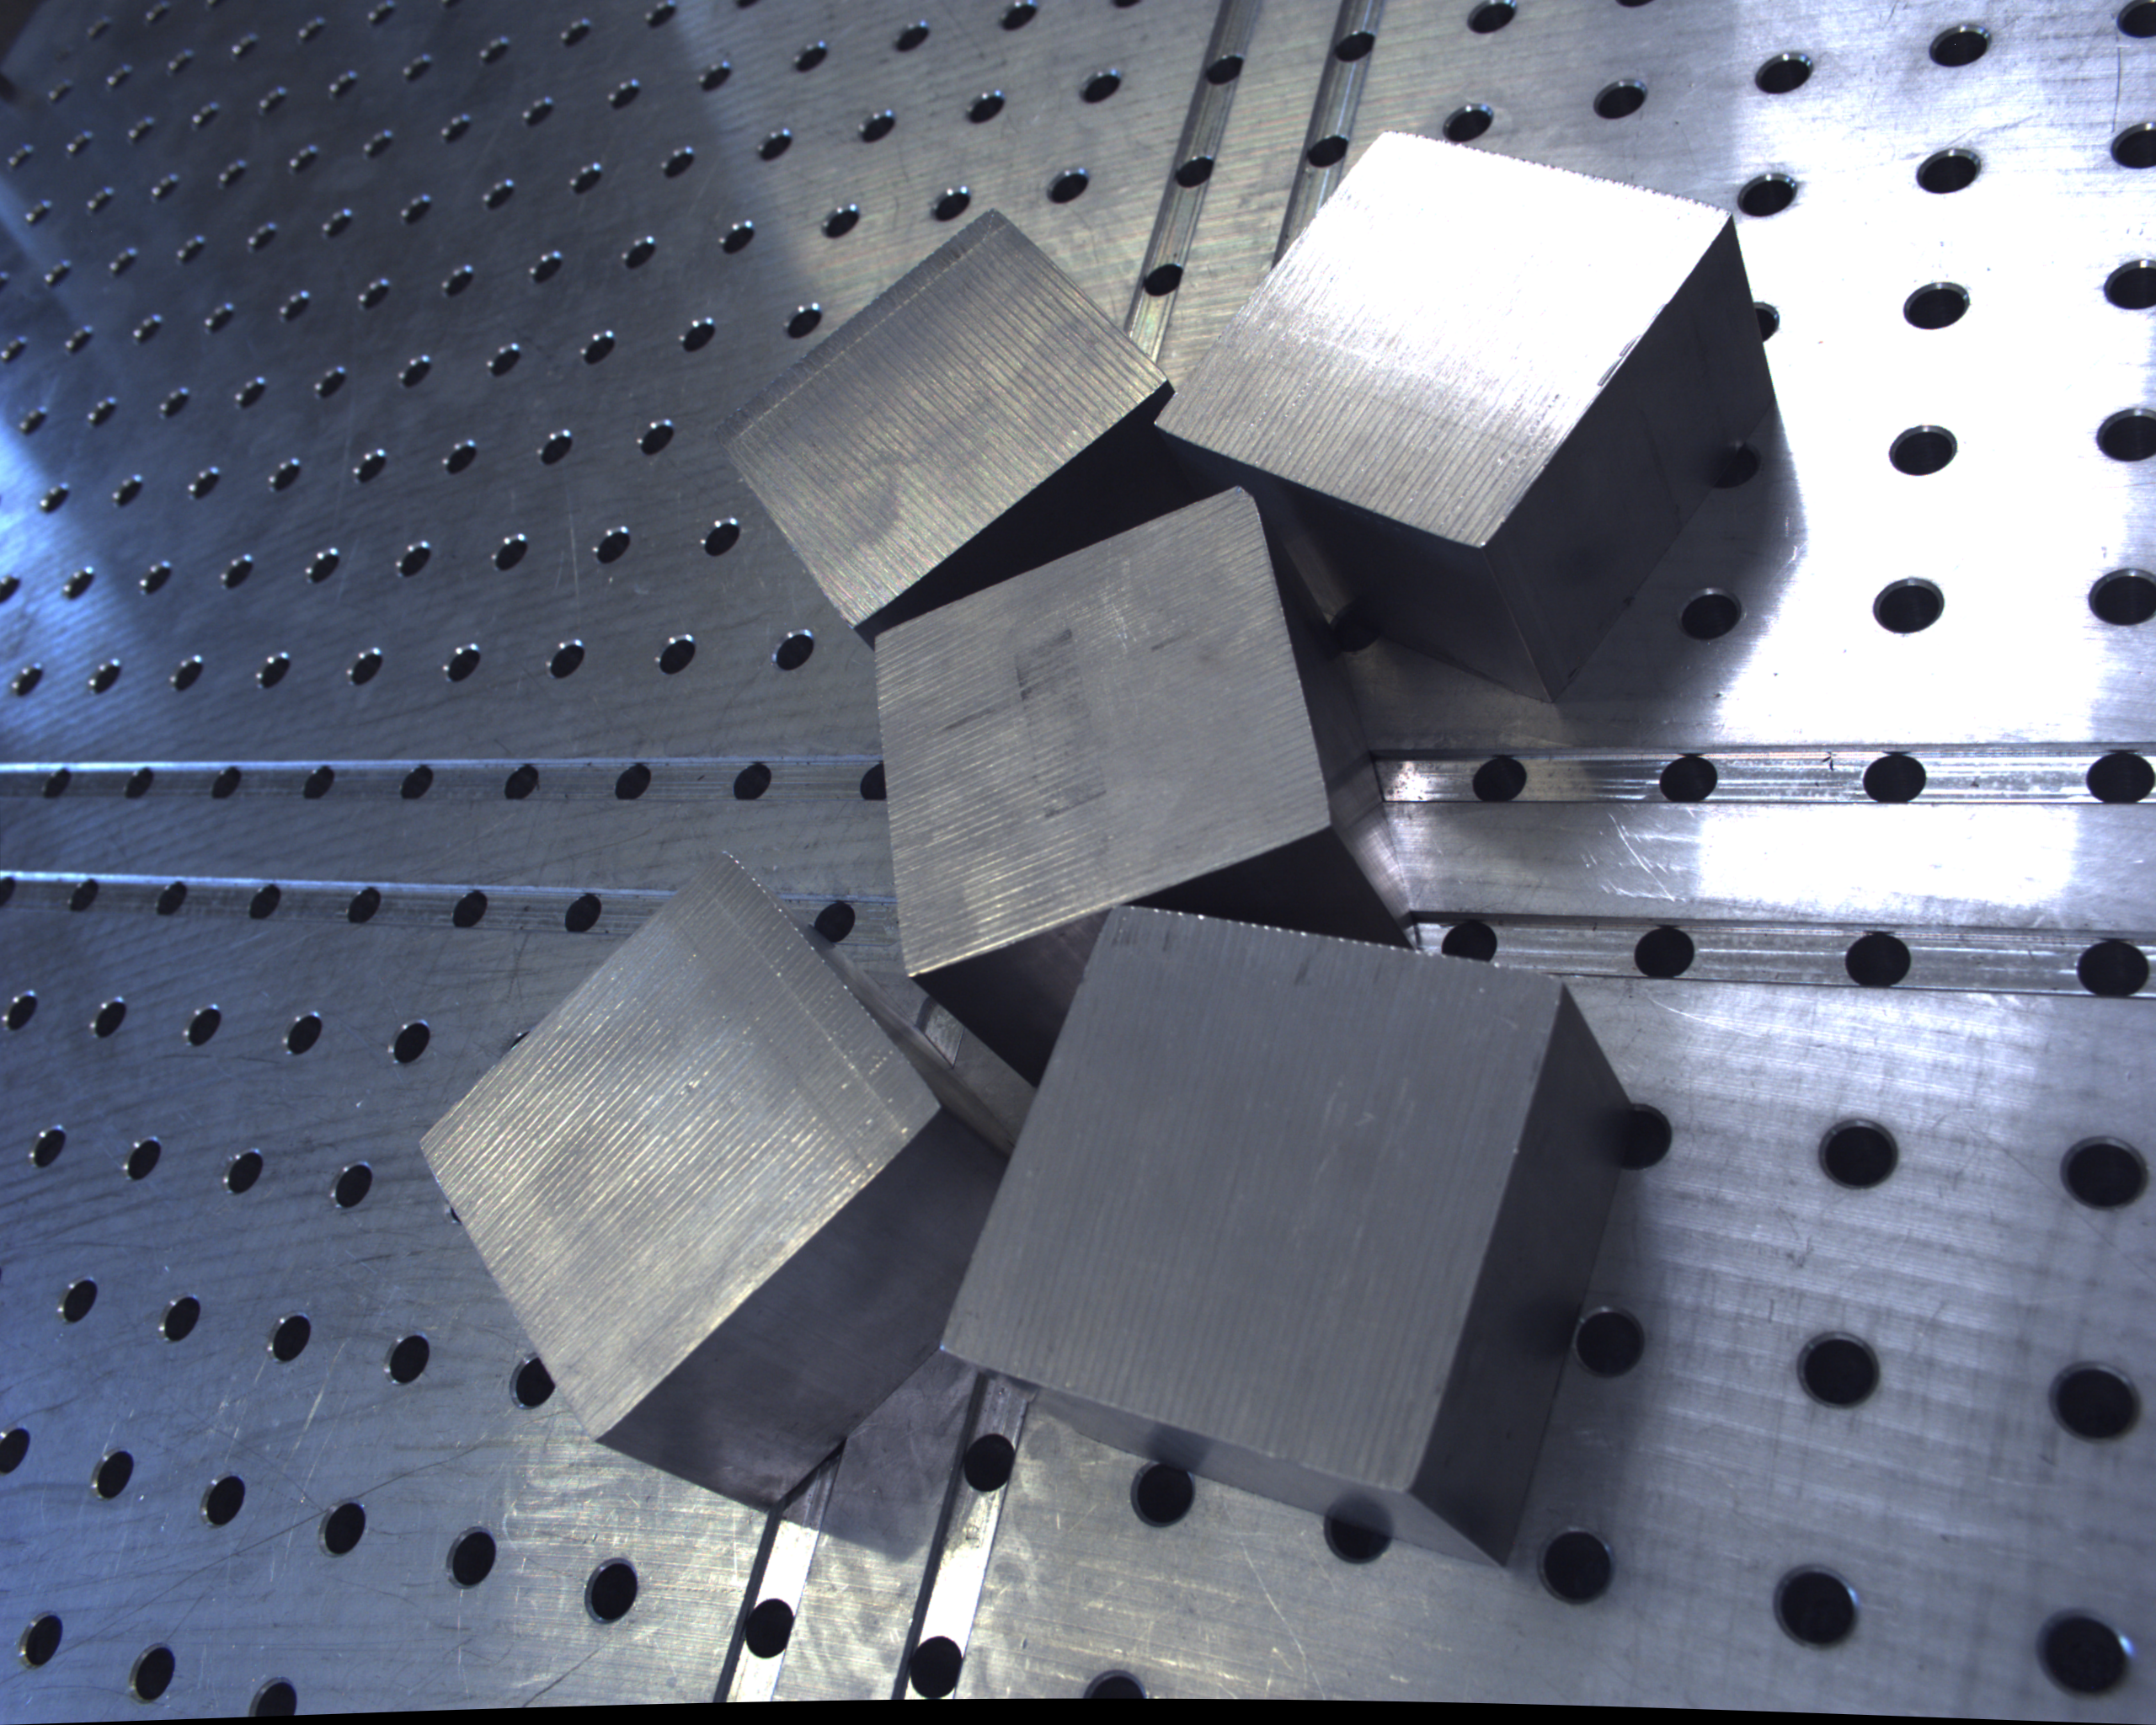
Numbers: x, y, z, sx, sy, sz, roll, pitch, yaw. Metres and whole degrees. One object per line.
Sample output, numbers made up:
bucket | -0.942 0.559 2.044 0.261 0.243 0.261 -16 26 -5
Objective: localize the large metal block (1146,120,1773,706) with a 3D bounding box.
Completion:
large metal block | 0.075 -0.089 0.407 0.080 0.050 0.080 30 78 35

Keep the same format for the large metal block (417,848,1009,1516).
large metal block | -0.063 0.058 0.388 0.080 0.050 0.080 -44 51 -3

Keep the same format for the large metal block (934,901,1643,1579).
large metal block | 0.036 0.059 0.338 0.080 0.050 0.080 10 66 32

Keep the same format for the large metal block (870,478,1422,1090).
large metal block | 0.011 -0.014 0.395 0.080 0.050 0.080 -20 54 16

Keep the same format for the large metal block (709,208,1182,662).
large metal block | -0.022 -0.083 0.455 0.080 0.050 0.080 -38 50 3
